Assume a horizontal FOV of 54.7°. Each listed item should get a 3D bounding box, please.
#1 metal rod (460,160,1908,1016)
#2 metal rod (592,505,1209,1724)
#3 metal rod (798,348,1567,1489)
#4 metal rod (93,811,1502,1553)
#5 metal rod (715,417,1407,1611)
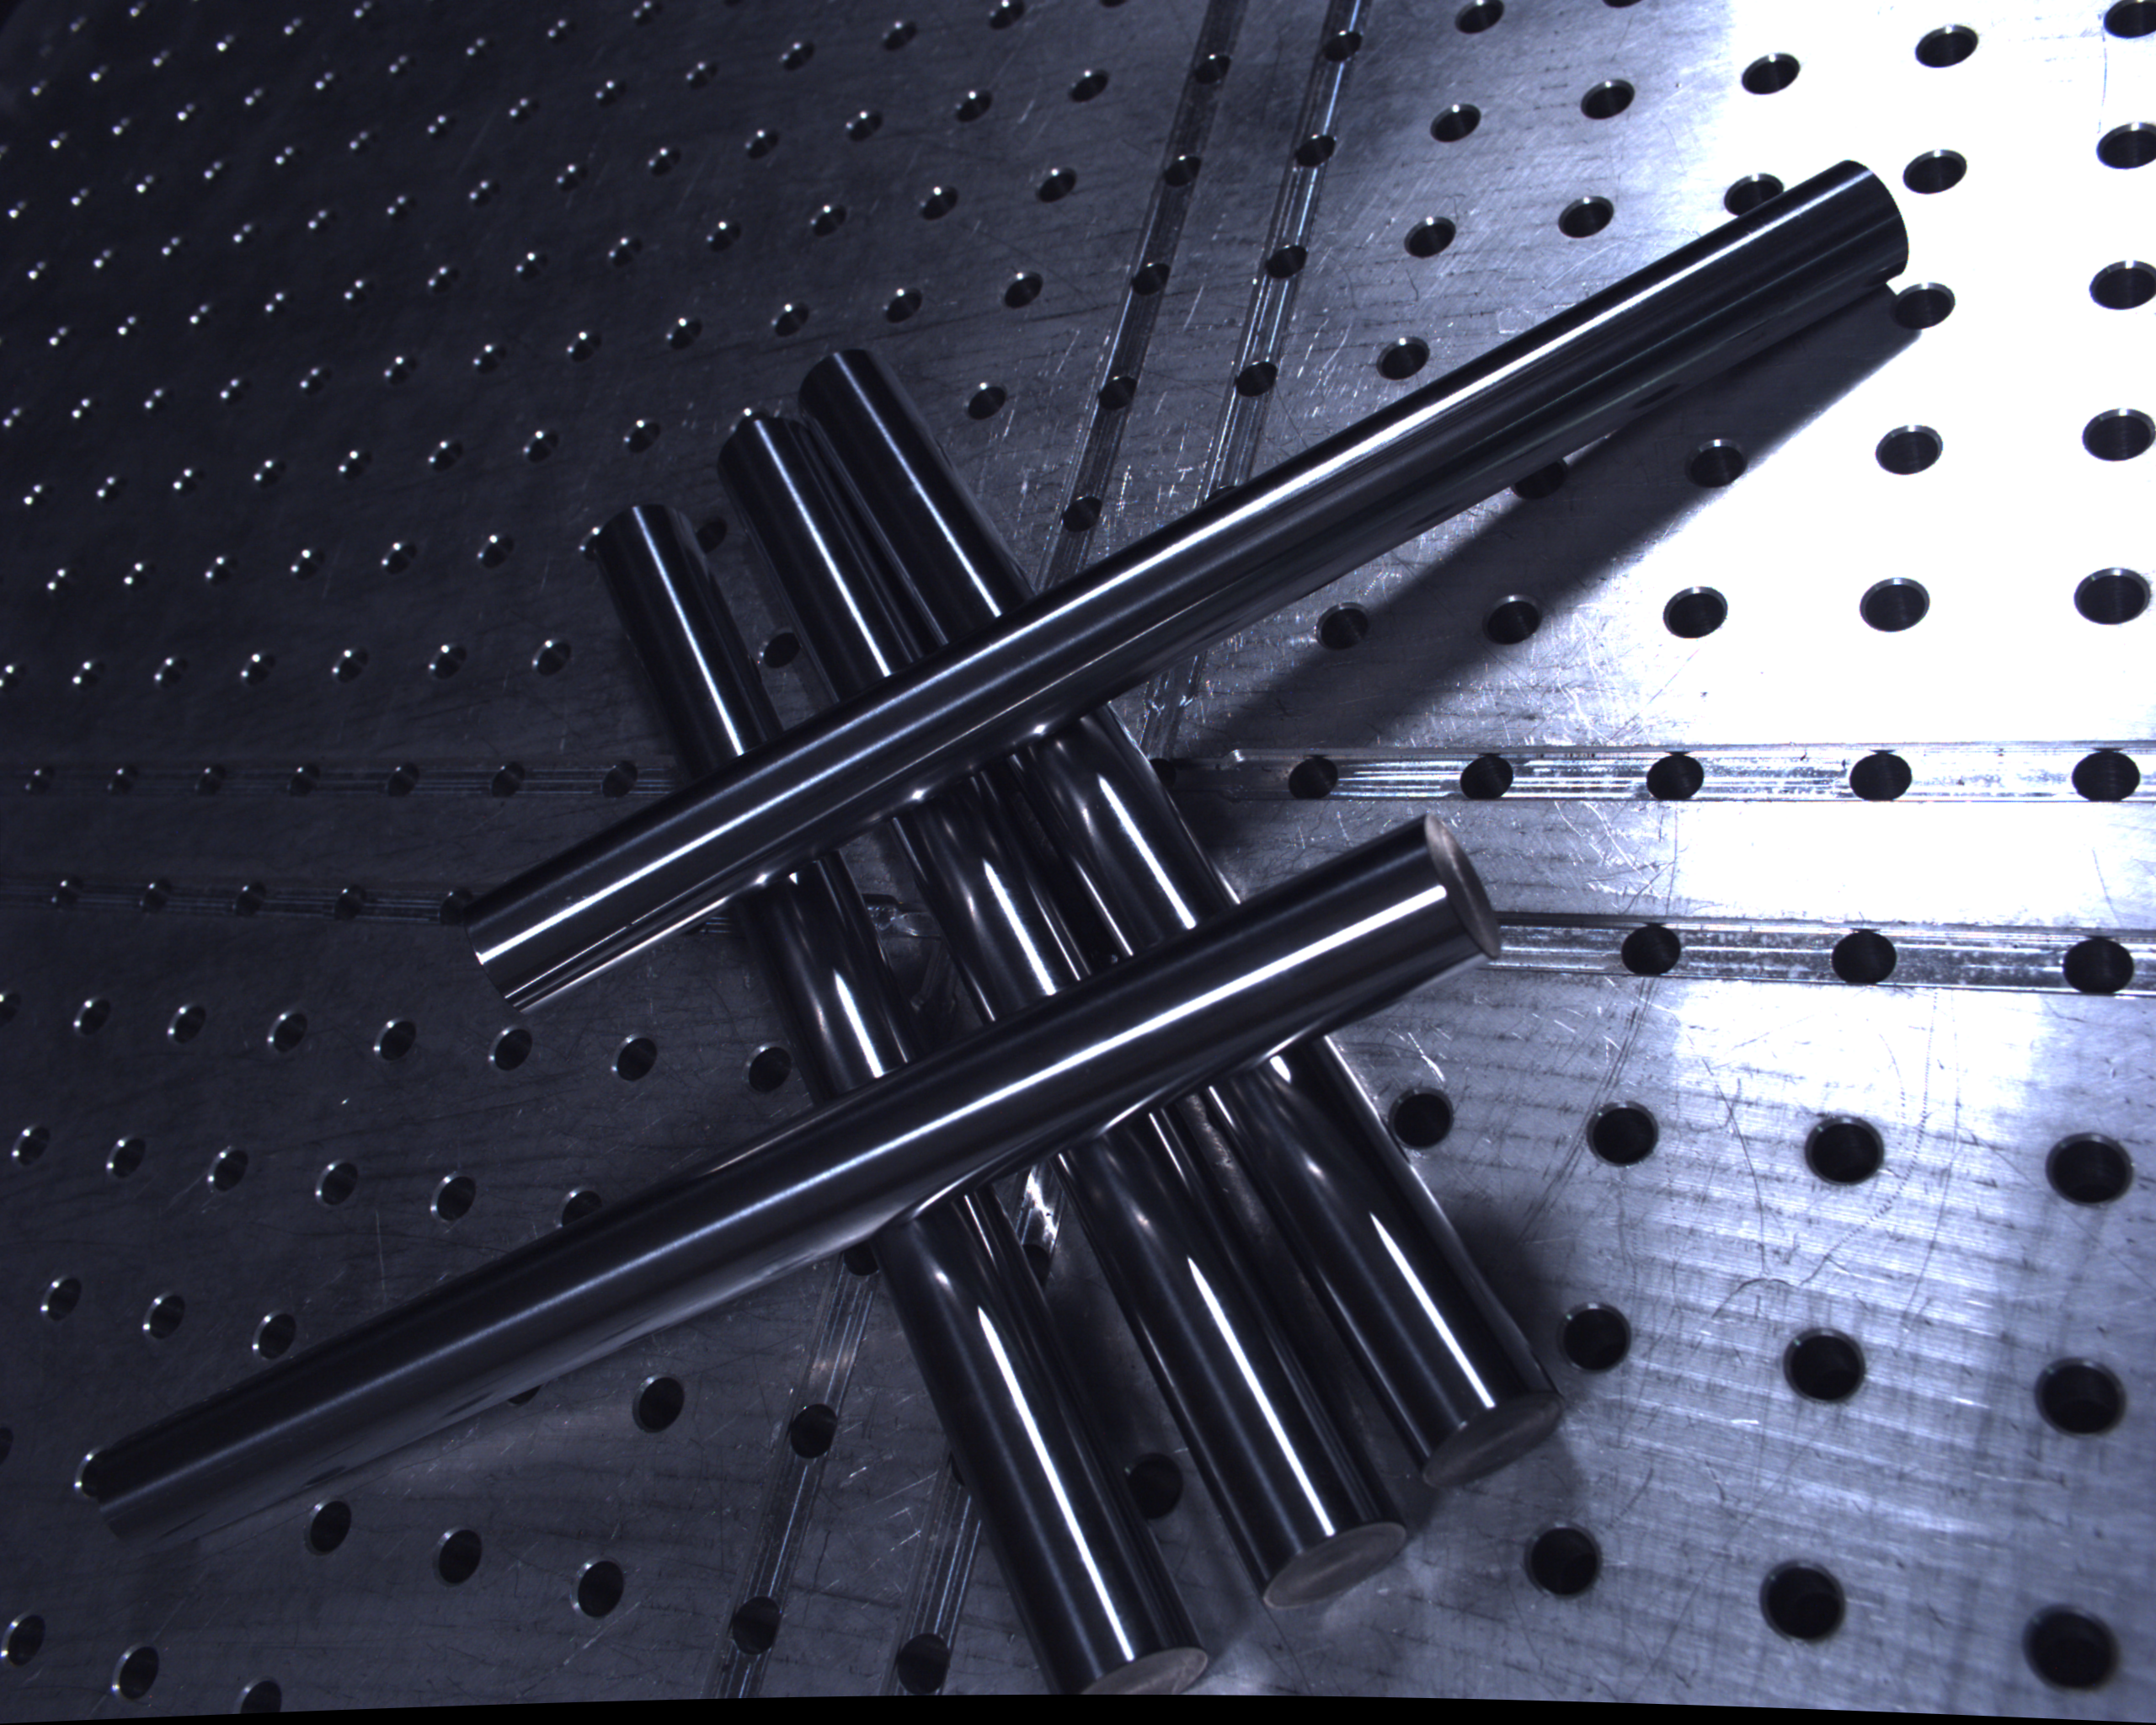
[{"bbox_3d":[0.021,-0.053,0.402,0.301,0.025,0.025,-28,52,-1],"label":"metal rod"},{"bbox_3d":[-0.049,0.026,0.416,0.025,0.025,0.300,-34,52,6],"label":"metal rod"},{"bbox_3d":[0.004,-0.012,0.412,0.025,0.025,0.300,-35,52,5],"label":"metal rod"},{"bbox_3d":[-0.066,0.066,0.374,0.300,0.025,0.025,-27,52,21],"label":"metal rod"},{"bbox_3d":[-0.018,0.005,0.413,0.025,0.025,0.300,-34,52,6],"label":"metal rod"}]
